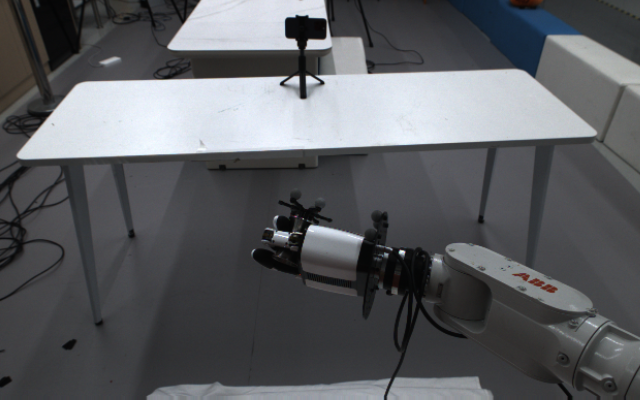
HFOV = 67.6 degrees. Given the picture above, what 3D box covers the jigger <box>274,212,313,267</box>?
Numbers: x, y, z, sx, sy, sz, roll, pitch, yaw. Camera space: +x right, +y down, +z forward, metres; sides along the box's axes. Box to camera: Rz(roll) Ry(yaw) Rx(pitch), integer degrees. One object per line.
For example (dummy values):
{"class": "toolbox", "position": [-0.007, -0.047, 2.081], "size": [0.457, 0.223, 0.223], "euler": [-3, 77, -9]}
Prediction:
{"class": "jigger", "position": [-0.040, 0.061, 0.737], "size": [0.043, 0.043, 0.071], "euler": [15, 71, 18]}
